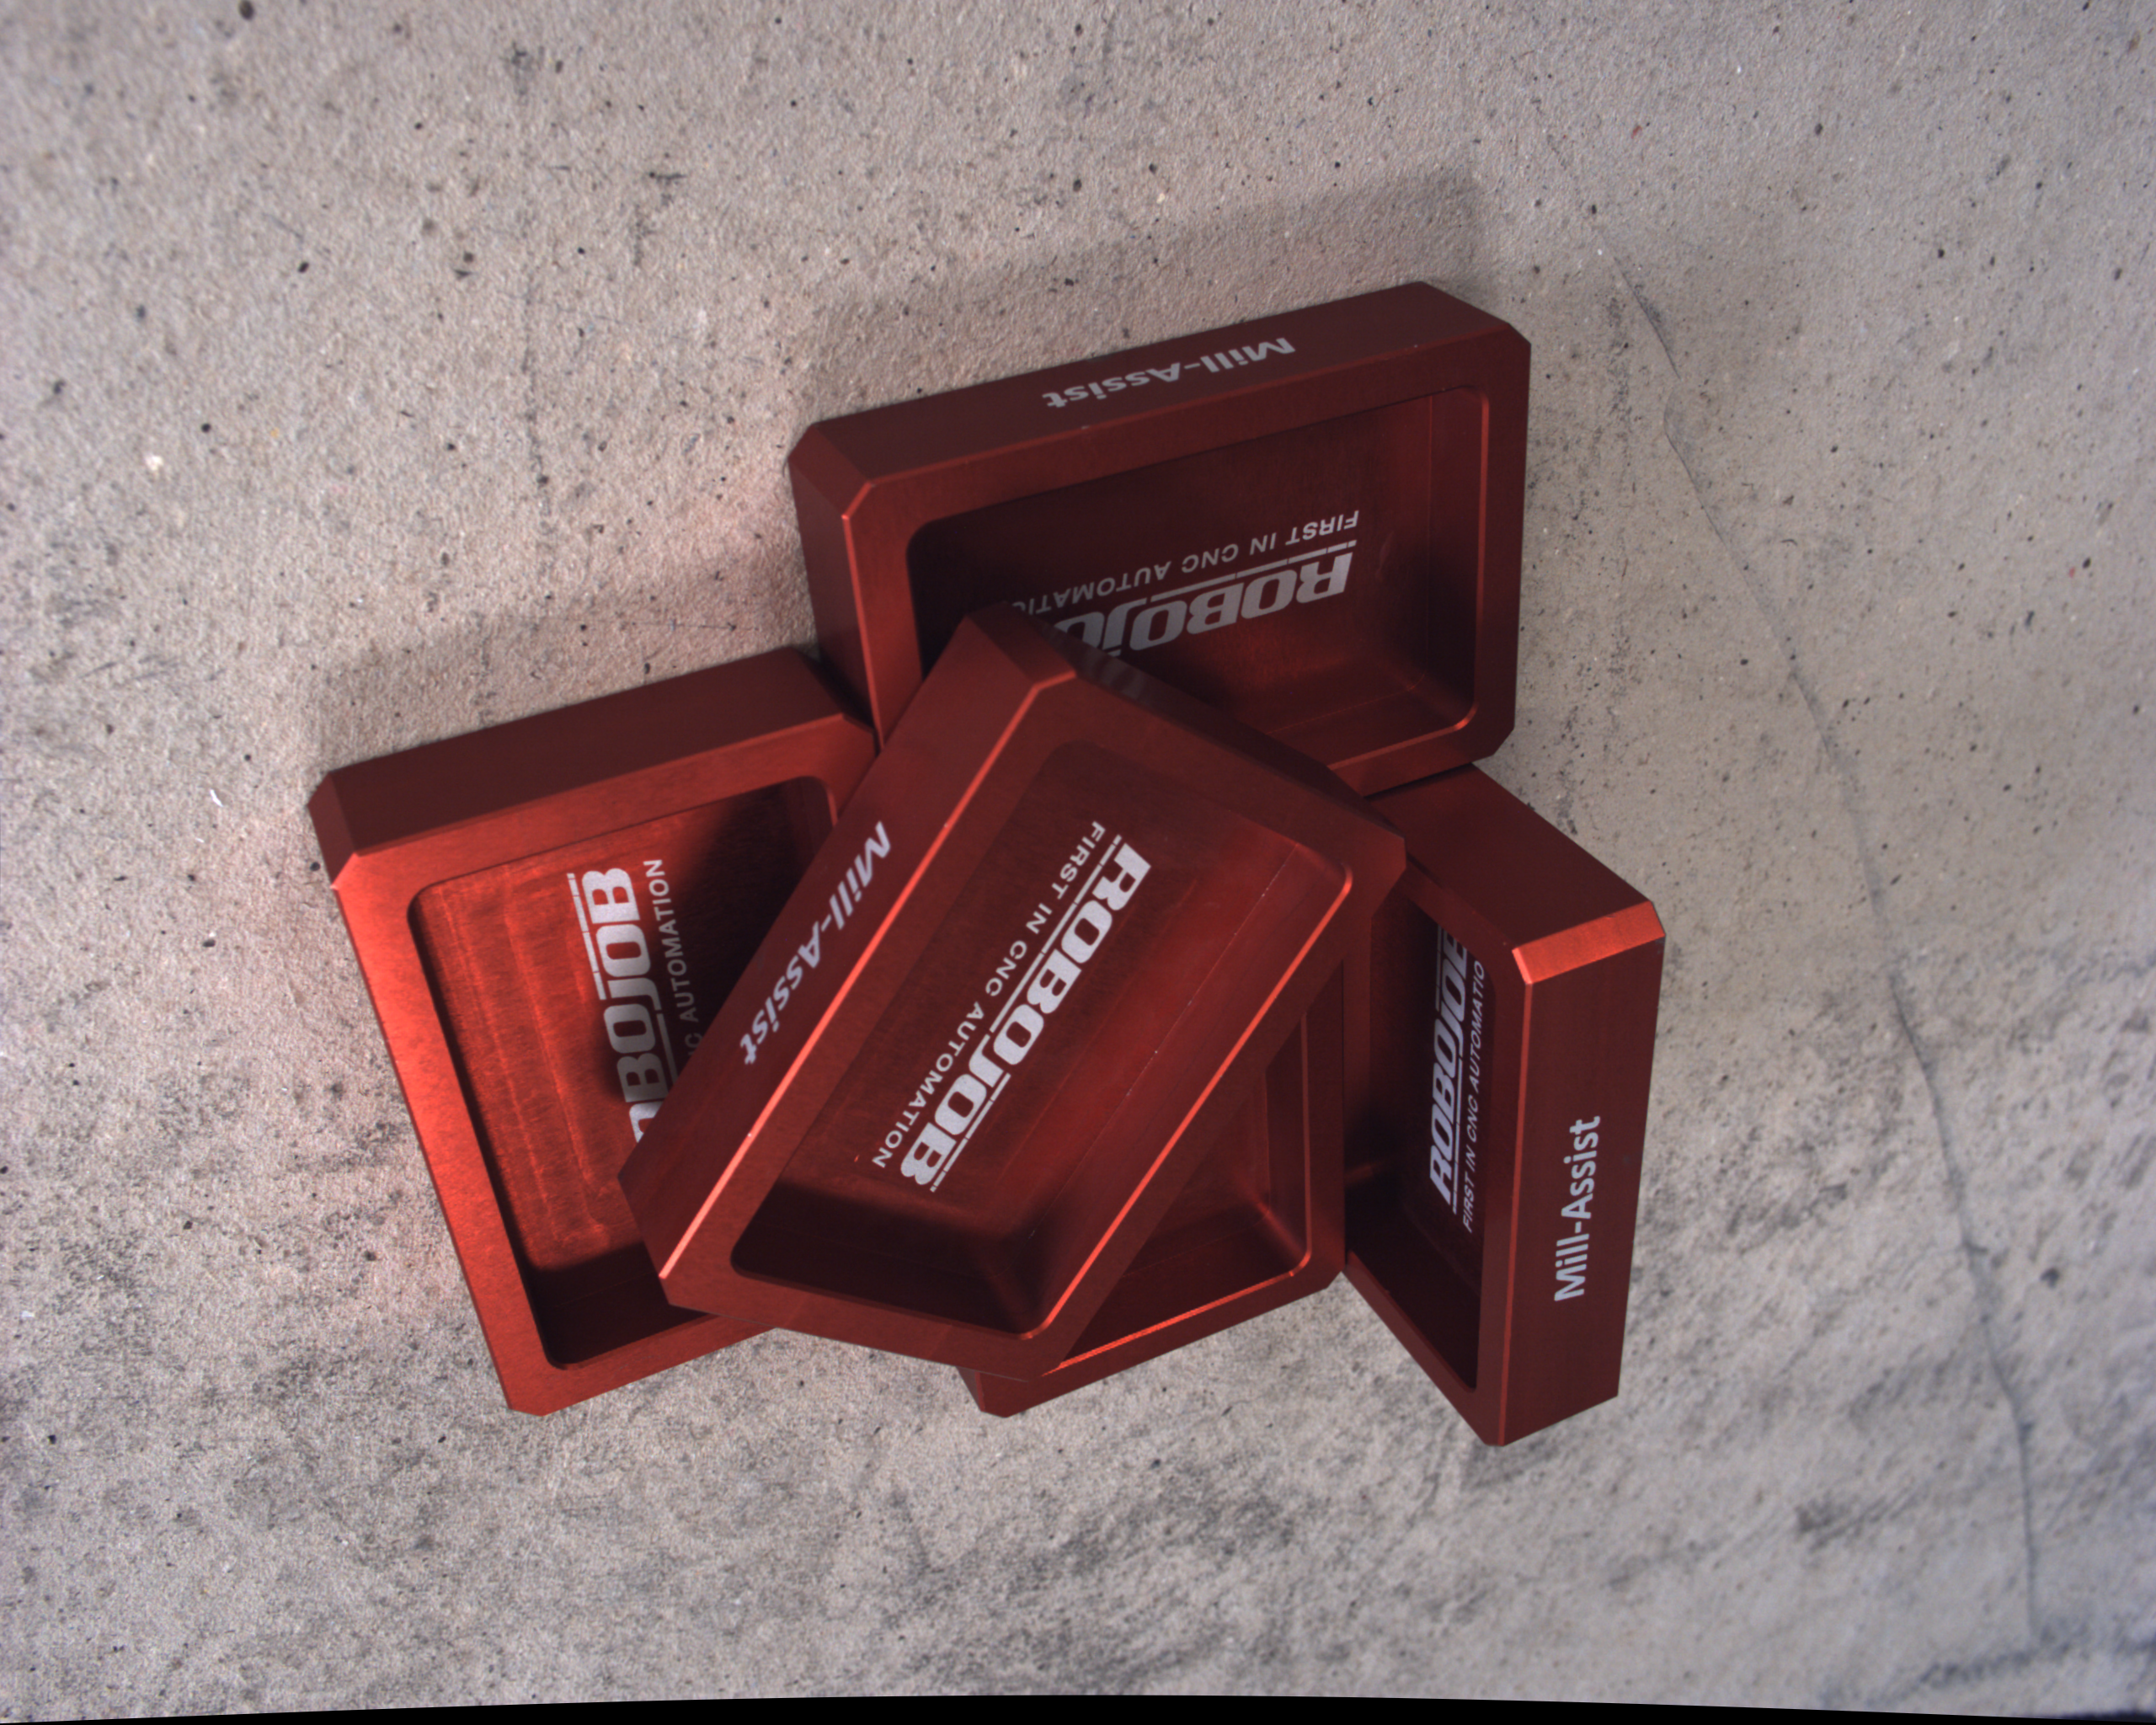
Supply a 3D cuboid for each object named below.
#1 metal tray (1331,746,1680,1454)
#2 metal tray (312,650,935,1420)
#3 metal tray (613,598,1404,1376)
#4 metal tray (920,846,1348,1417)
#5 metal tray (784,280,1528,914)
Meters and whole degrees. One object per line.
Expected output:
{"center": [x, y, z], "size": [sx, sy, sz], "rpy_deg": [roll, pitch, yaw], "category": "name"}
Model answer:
{"center": [0.079, 0.047, 0.435], "size": [0.030, 0.090, 0.129], "rpy_deg": [-17, 126, -19], "category": "metal tray"}
{"center": [-0.076, 0.034, 0.383], "size": [0.091, 0.030, 0.129], "rpy_deg": [-17, 125, -18], "category": "metal tray"}
{"center": [-0.012, 0.028, 0.378], "size": [0.090, 0.030, 0.129], "rpy_deg": [24, 106, -36], "category": "metal tray"}
{"center": [0.010, 0.049, 0.438], "size": [0.091, 0.030, 0.129], "rpy_deg": [-17, 127, -17], "category": "metal tray"}
{"center": [0.018, -0.049, 0.386], "size": [0.131, 0.030, 0.089], "rpy_deg": [-17, 125, -18], "category": "metal tray"}
